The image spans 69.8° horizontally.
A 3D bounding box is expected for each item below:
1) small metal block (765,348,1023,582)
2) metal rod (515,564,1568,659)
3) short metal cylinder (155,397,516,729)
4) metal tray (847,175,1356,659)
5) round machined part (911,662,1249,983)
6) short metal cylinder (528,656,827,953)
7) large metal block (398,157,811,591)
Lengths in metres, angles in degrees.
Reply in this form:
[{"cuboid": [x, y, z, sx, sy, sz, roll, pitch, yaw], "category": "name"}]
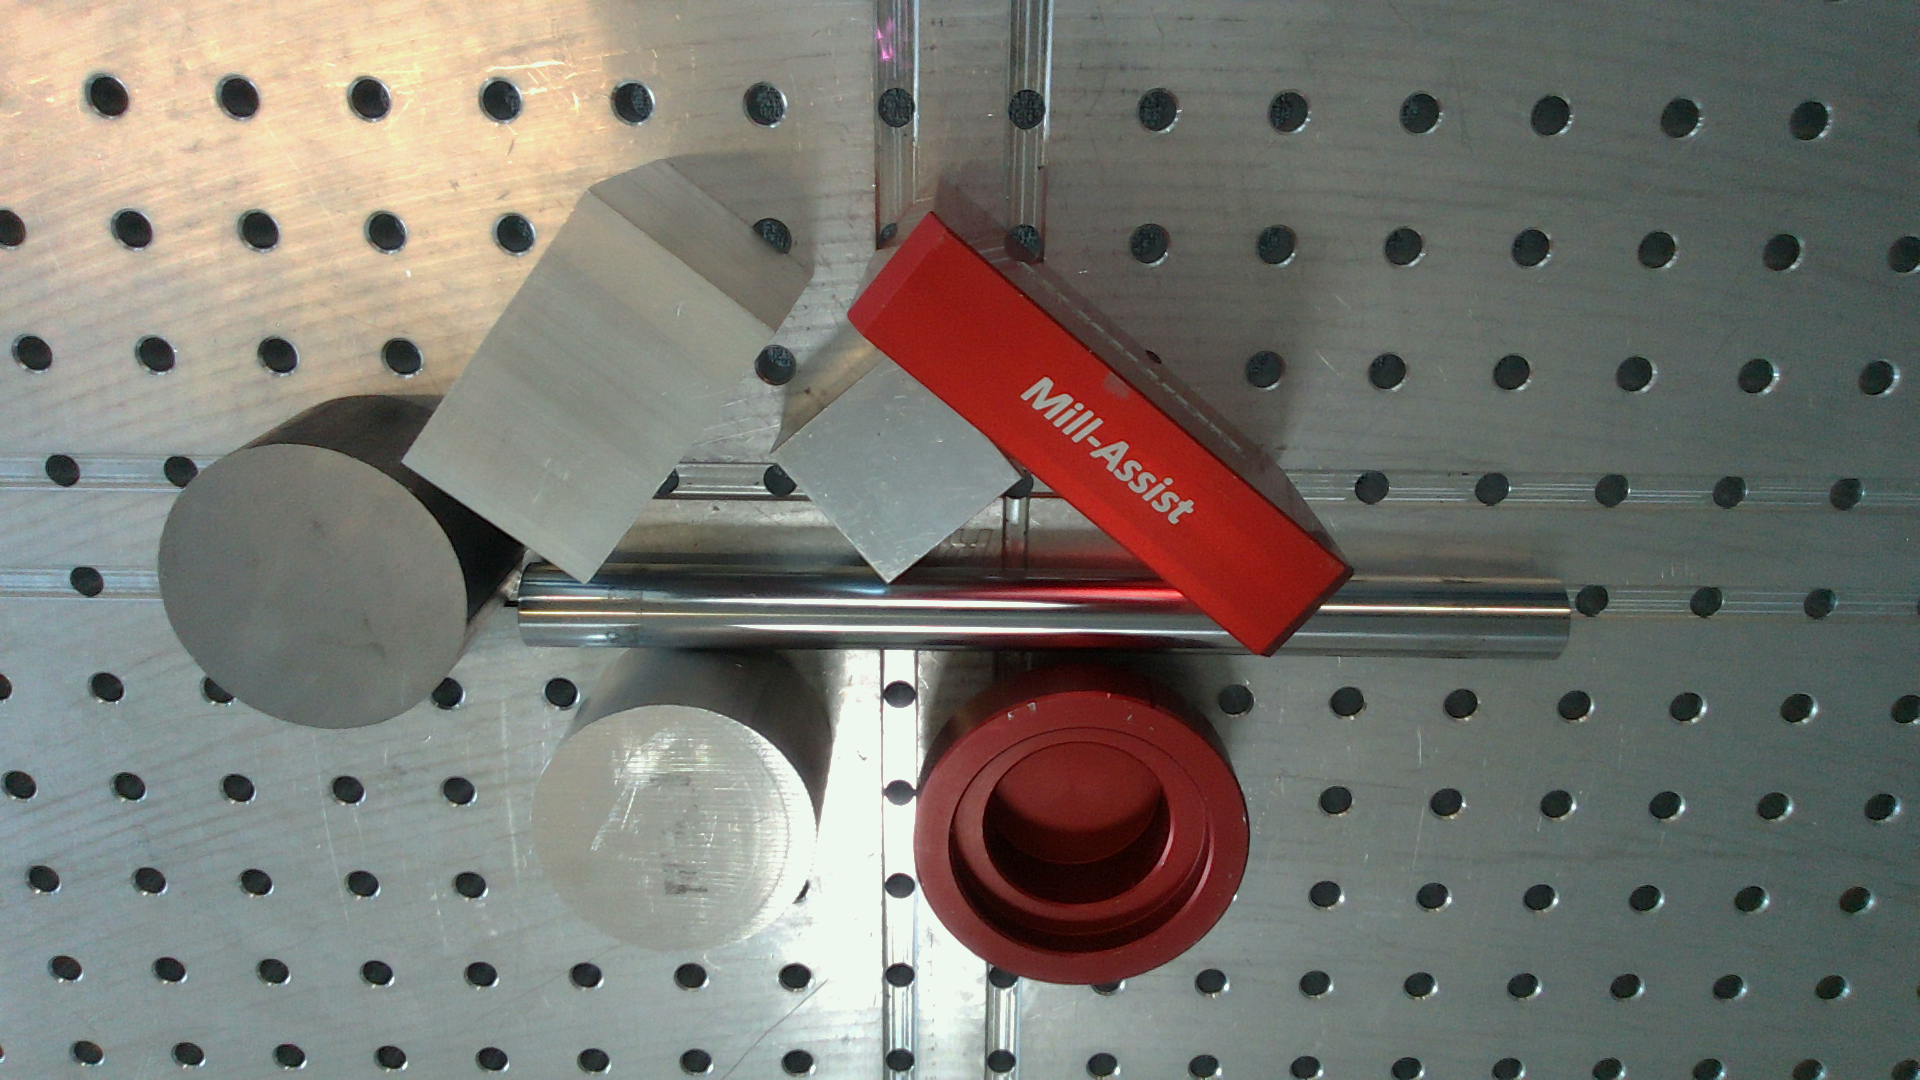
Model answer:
[{"cuboid": [-0.018, -0.025, 0.387, 0.050, 0.025, 0.050, -37, 106, 12], "category": "small metal block"}, {"cuboid": [0.024, 0.021, 0.404, 0.300, 0.025, 0.025, 1, 110, -1], "category": "metal rod"}, {"cuboid": [-0.170, 0.005, 0.383, 0.080, 0.050, 0.080, 0, 110, 0], "category": "short metal cylinder"}, {"cuboid": [0.034, -0.035, 0.349, 0.130, 0.090, 0.030, 38, 106, -13], "category": "metal tray"}, {"cuboid": [0.035, 0.081, 0.418, 0.098, 0.042, 0.098, 0, 110, 0], "category": "round machined part"}, {"cuboid": [-0.081, 0.074, 0.409, 0.080, 0.050, 0.080, 0, 110, 0], "category": "short metal cylinder"}, {"cuboid": [-0.086, -0.046, 0.350, 0.050, 0.080, 0.080, 36, 106, -13], "category": "large metal block"}]
